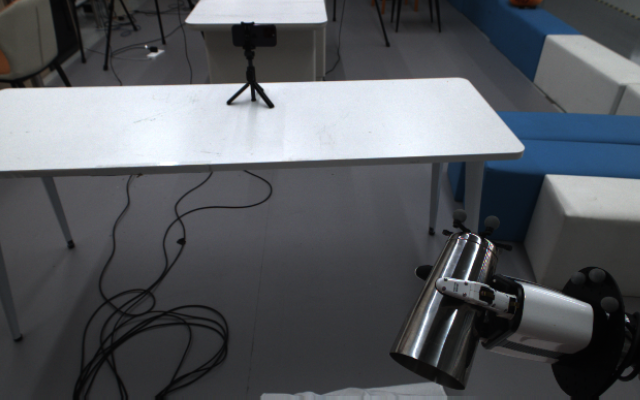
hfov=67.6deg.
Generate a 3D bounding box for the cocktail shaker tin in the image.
[{"bbox_3d":[0.164,0.126,0.587,0.093,0.093,0.170,17,67,21],"label":"cocktail shaker tin"}]
